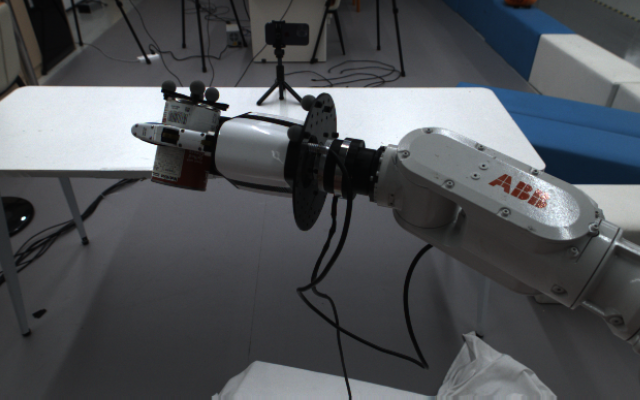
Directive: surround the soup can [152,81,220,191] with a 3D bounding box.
[{"bbox_3d":[-0.163,-0.066,0.591,0.067,0.101,0.067,12,2,0],"label":"soup can"}]
